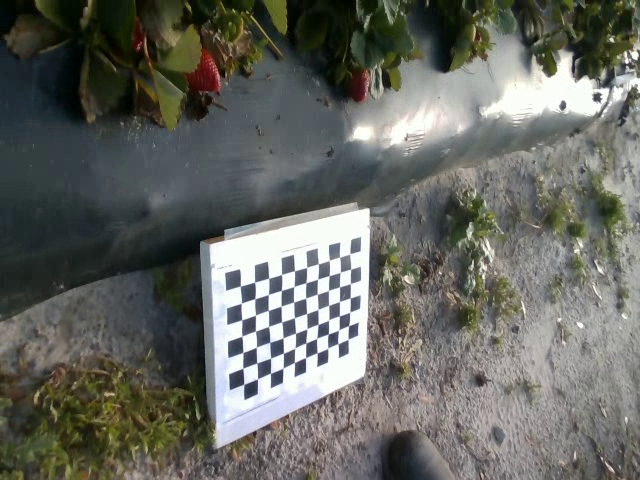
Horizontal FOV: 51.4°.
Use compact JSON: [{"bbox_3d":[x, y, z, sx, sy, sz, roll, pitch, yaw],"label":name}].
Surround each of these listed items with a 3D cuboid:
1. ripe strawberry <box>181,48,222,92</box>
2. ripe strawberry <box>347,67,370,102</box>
[{"bbox_3d":[-0.082,-0.114,0.448,0.030,0.032,0.025,46,-27,-20],"label":"ripe strawberry"},{"bbox_3d":[0.035,-0.136,0.576,0.029,0.036,0.021,-11,9,-40],"label":"ripe strawberry"}]
